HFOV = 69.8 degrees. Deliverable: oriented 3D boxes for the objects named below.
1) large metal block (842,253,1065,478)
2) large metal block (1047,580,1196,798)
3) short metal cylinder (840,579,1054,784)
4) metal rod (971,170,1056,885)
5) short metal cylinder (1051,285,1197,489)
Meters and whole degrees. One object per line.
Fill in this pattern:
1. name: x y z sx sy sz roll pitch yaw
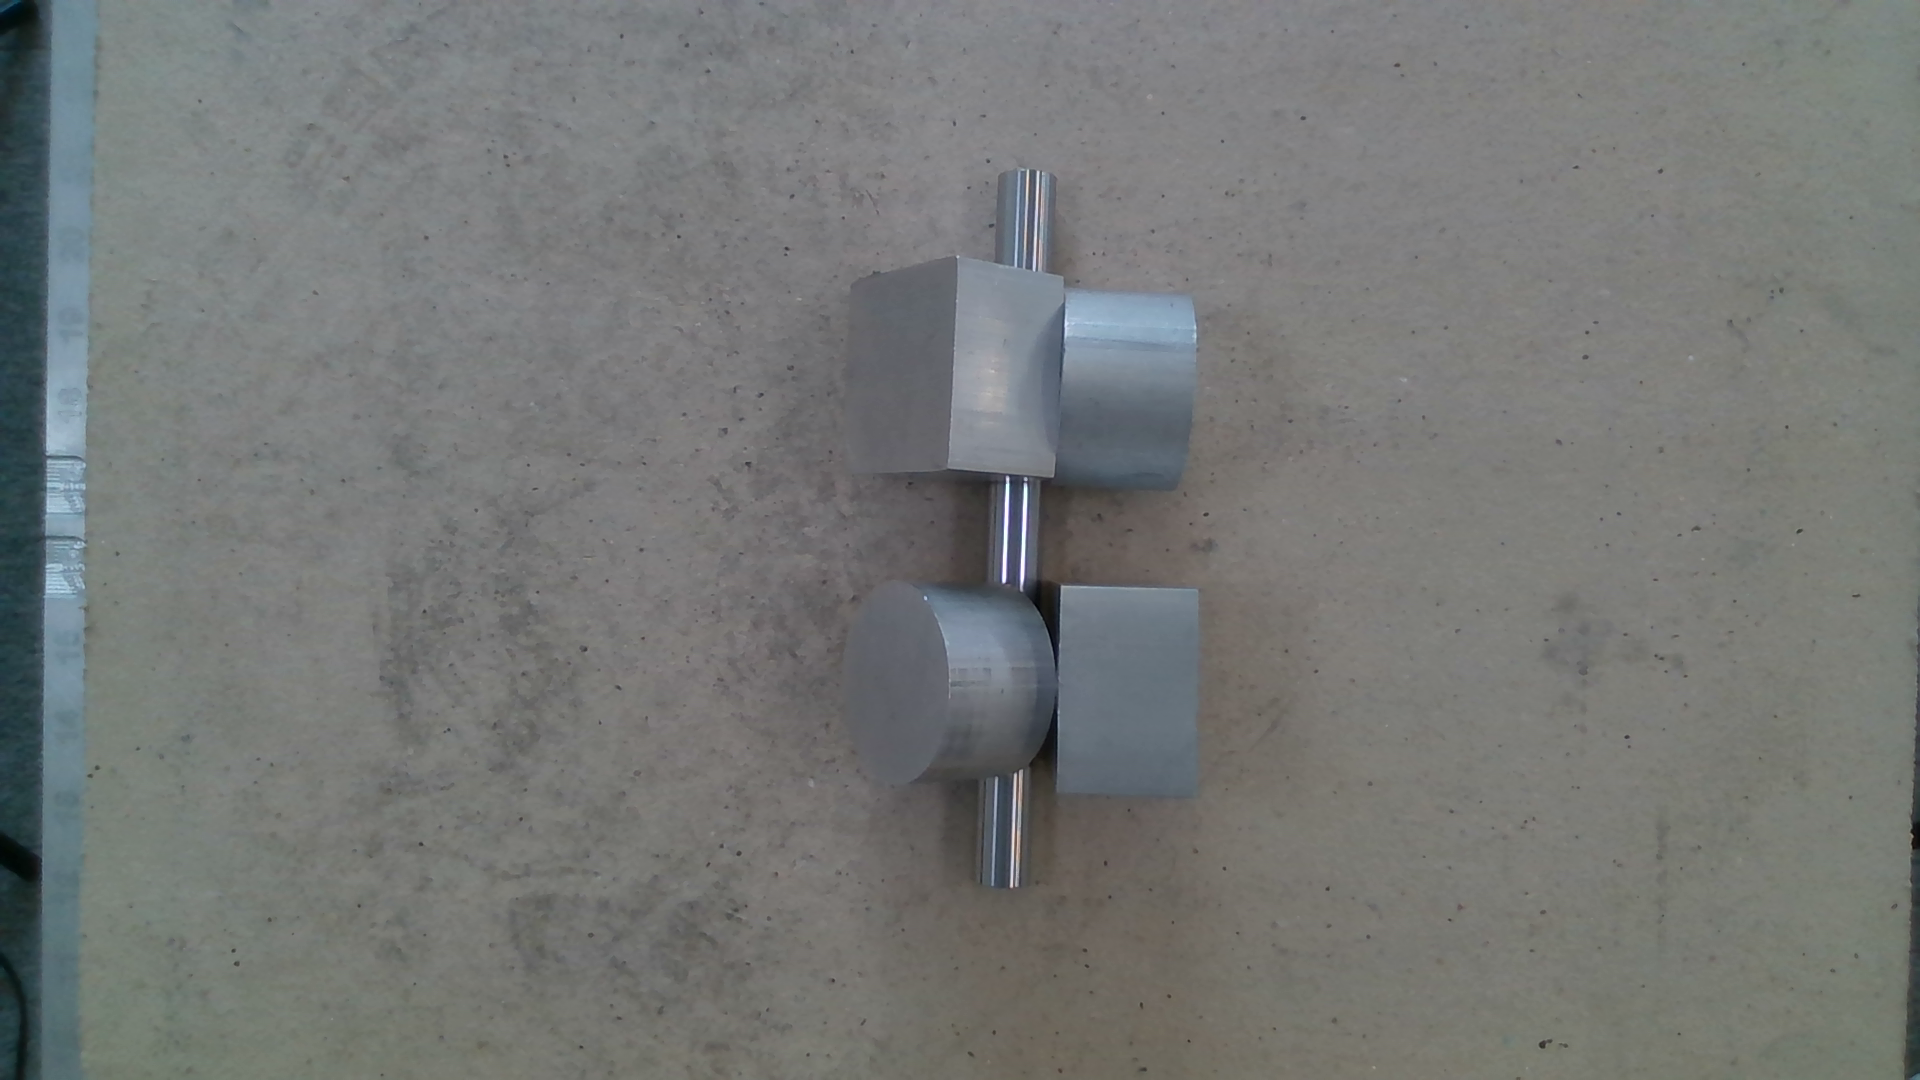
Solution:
1. large metal block: -0.004 -0.066 0.553 0.050 0.080 0.080 2 91 -34
2. large metal block: 0.063 0.057 0.560 0.050 0.080 0.080 1 90 0
3. short metal cylinder: -0.007 0.056 0.554 0.050 0.080 0.080 1 90 -35
4. metal rod: 0.023 -0.005 0.589 0.025 0.025 0.300 2 91 0
5. short metal cylinder: 0.064 -0.062 0.559 0.050 0.080 0.080 3 90 0
